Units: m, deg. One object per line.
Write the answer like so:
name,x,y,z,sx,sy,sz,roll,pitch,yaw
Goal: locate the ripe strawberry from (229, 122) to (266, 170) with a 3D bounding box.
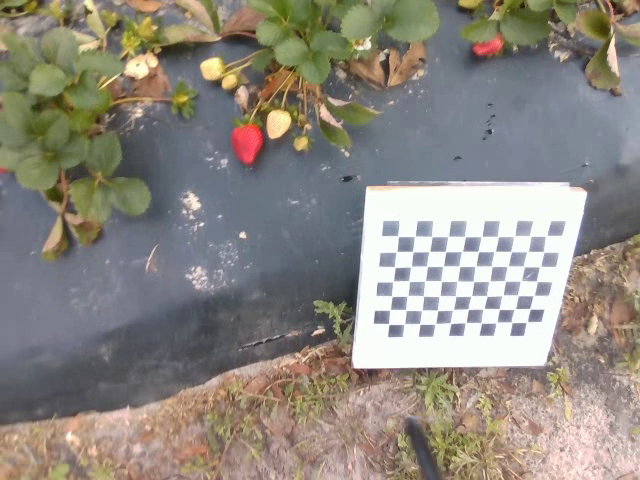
ripe strawberry,-0.093,-0.121,0.783,0.050,0.059,0.034,-10,-23,2
